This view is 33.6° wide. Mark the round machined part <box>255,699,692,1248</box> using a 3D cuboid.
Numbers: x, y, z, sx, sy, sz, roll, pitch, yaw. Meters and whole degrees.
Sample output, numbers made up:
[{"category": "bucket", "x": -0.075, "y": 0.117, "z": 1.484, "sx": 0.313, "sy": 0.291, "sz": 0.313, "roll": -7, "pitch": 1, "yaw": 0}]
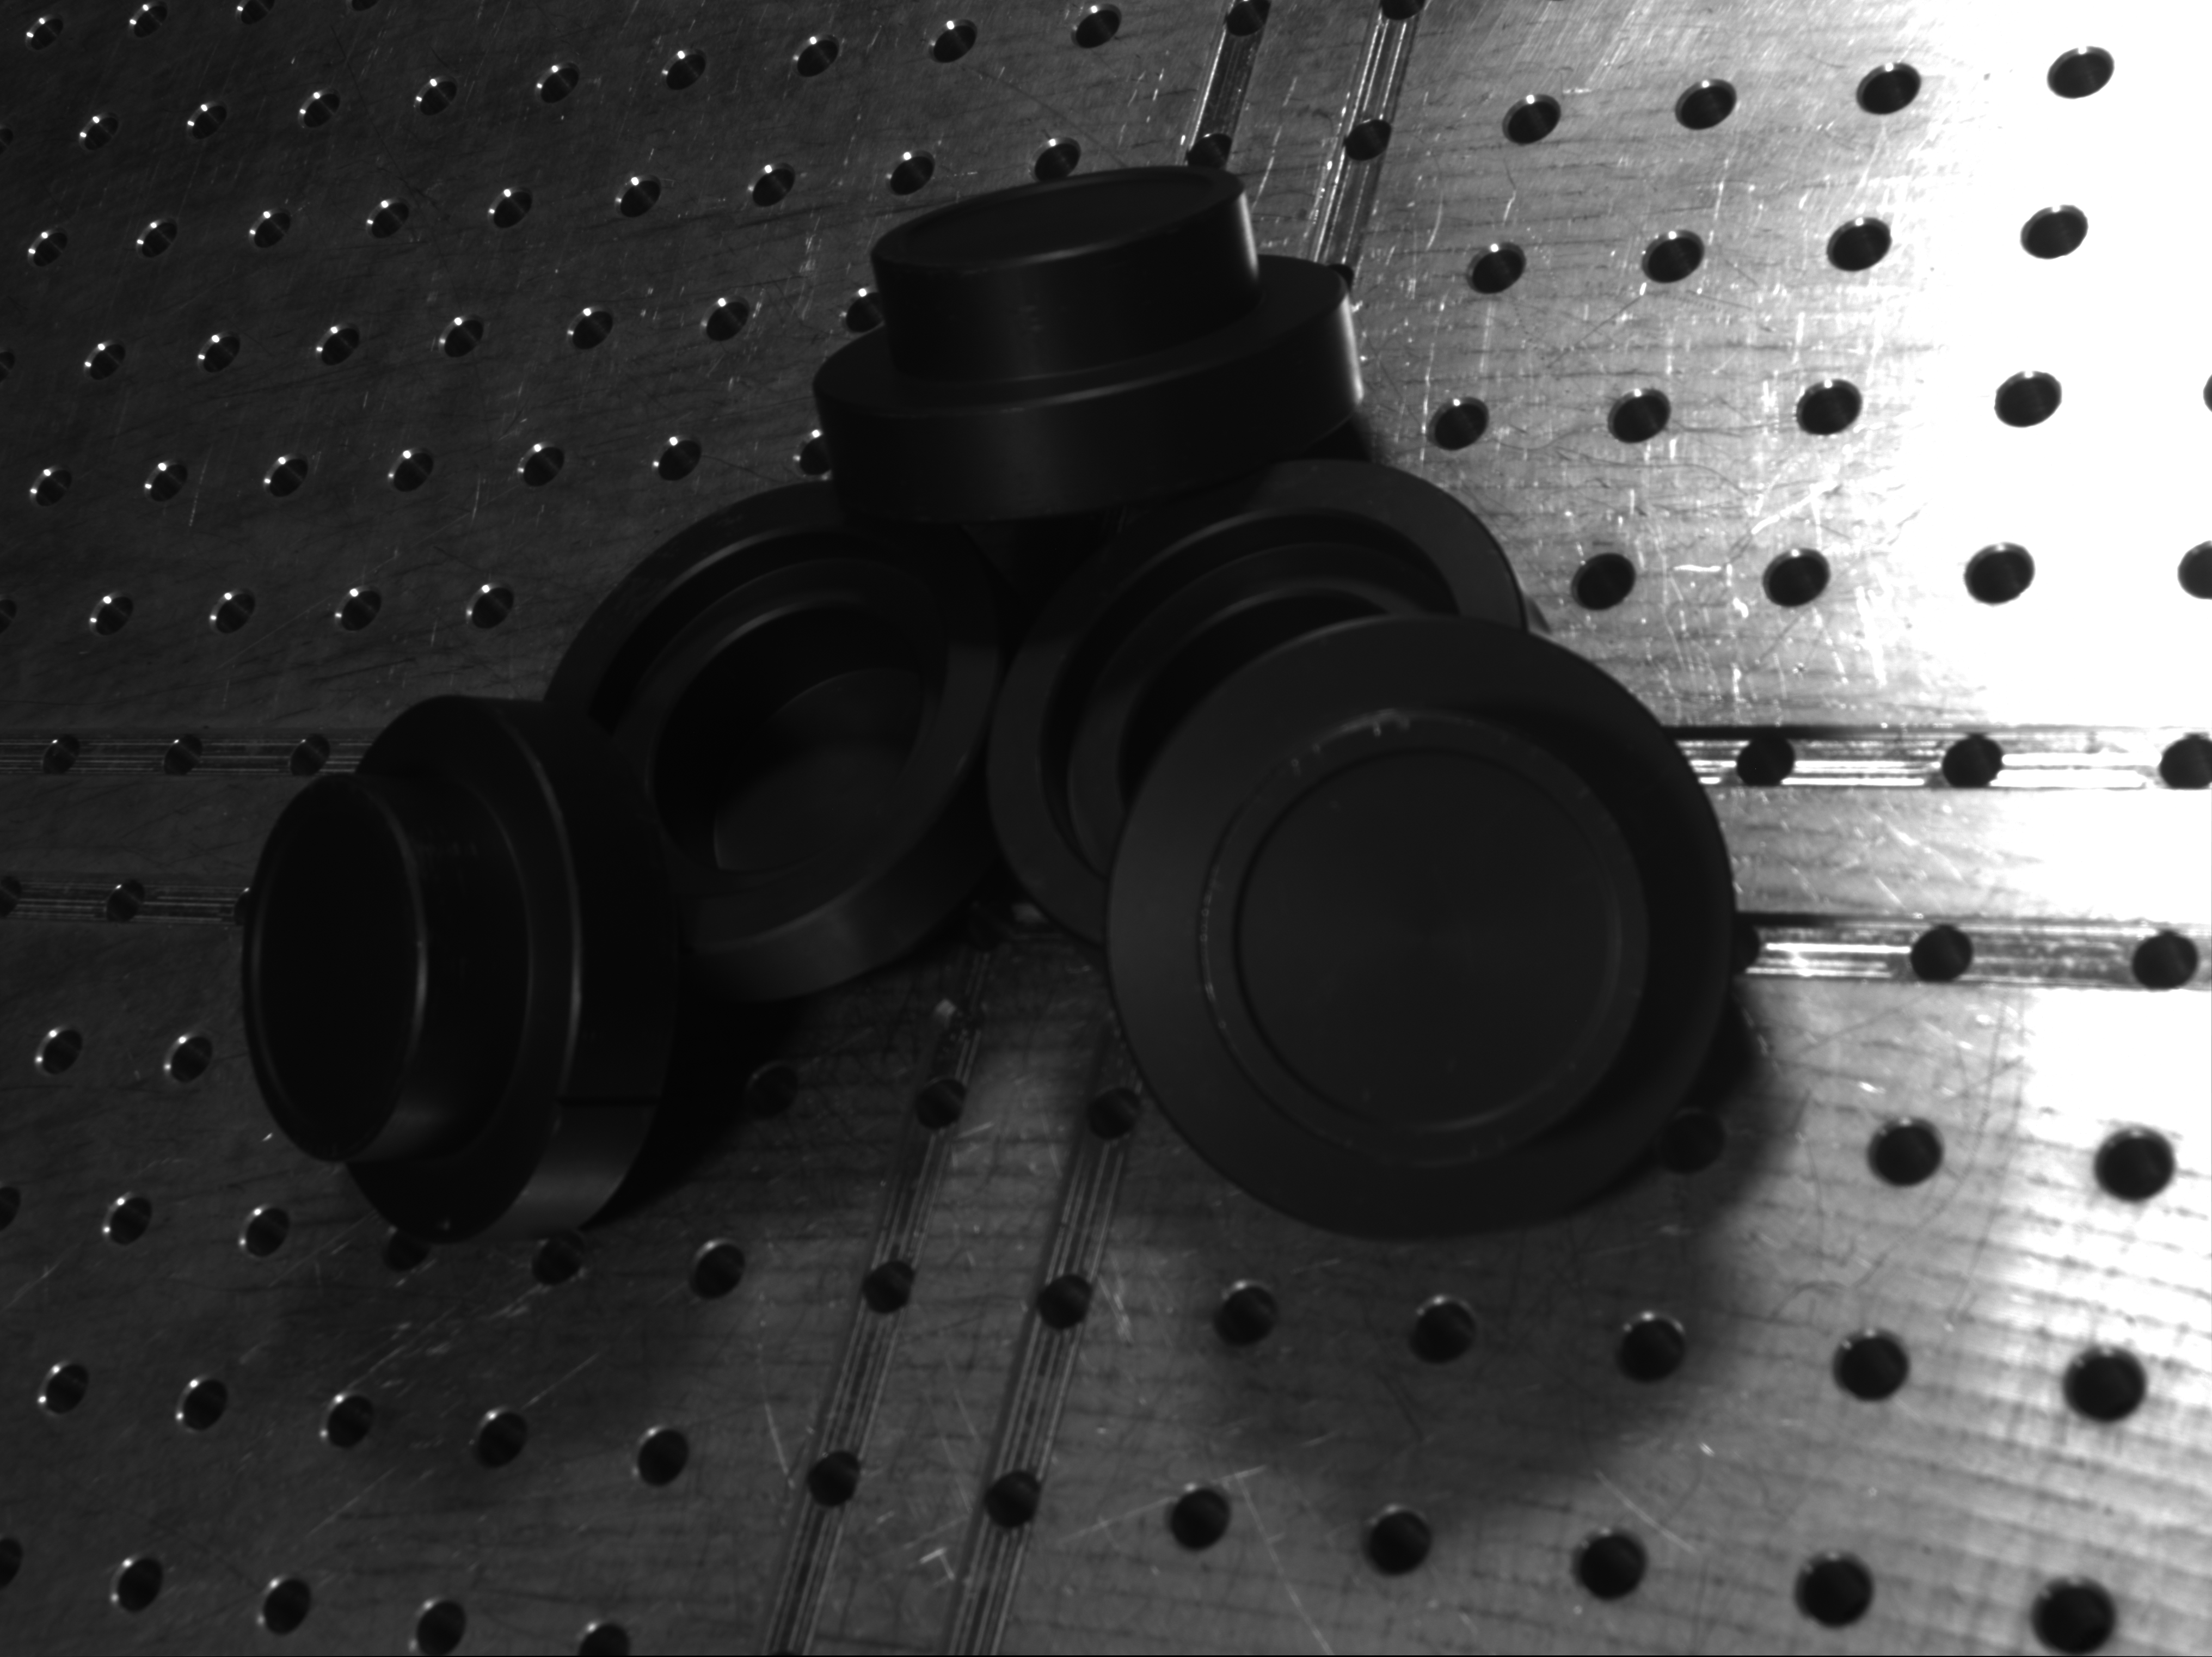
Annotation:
[{"category": "round machined part", "x": -0.118, "y": 0.026, "z": 0.654, "sx": 0.098, "sy": 0.042, "sz": 0.098, "roll": -3, "pitch": 86, "yaw": 51}]

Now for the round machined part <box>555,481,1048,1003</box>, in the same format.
[{"category": "round machined part", "x": -0.052, "y": -0.012, "z": 0.670, "sx": 0.098, "sy": 0.042, "sz": 0.098, "roll": -13, "pitch": 56, "yaw": 21}]

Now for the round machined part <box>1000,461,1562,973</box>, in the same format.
[{"category": "round machined part", "x": 0.035, "y": -0.010, "z": 0.624, "sx": 0.098, "sy": 0.042, "sz": 0.098, "roll": -13, "pitch": 56, "yaw": 21}]

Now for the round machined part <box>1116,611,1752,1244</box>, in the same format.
[{"category": "round machined part", "x": 0.050, "y": 0.015, "z": 0.565, "sx": 0.098, "sy": 0.042, "sz": 0.098, "roll": 0, "pitch": 91, "yaw": 3}]

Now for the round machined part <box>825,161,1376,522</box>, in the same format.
[{"category": "round machined part", "x": -0.003, "y": -0.091, "z": 0.661, "sx": 0.098, "sy": 0.042, "sz": 0.098, "roll": -10, "pitch": 21, "yaw": 4}]
